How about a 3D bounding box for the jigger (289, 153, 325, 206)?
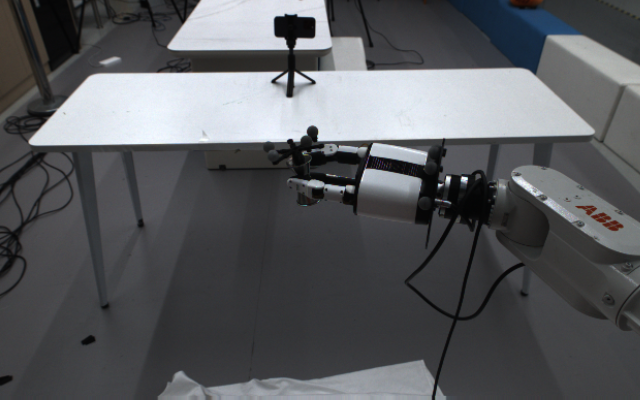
[{"bbox_3d":[-0.022,-0.030,0.732,0.043,0.071,0.043,-12,29,7],"label":"jigger"}]
